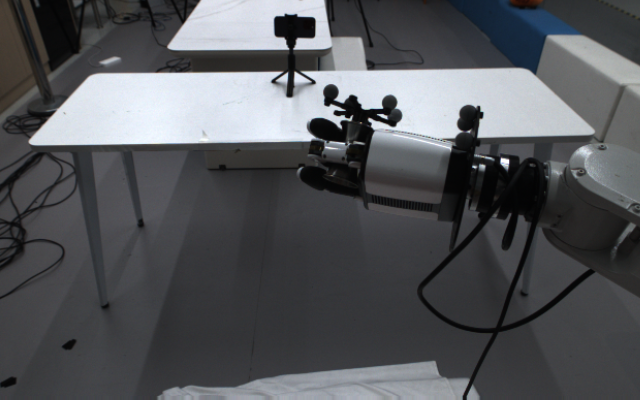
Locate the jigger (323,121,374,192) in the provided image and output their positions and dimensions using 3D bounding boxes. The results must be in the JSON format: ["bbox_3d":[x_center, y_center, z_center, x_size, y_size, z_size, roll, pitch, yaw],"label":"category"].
[{"bbox_3d":[0.036,-0.052,0.556,0.043,0.071,0.043,15,-7,2],"label":"jigger"}]
